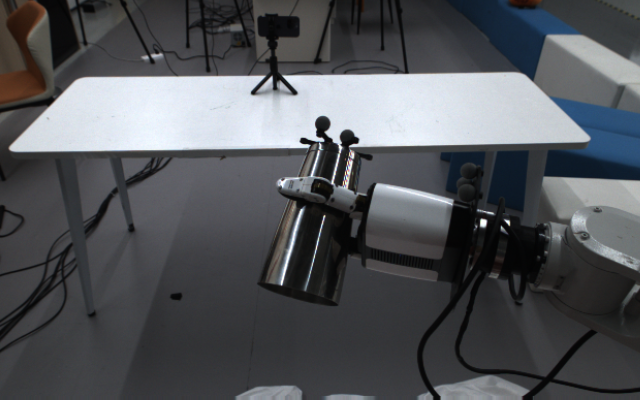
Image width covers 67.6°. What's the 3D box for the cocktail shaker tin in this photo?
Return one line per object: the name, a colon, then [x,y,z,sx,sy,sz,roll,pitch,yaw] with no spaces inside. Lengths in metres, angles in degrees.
cocktail shaker tin: [-0.002,0.025,0.548,0.093,0.093,0.170,11,71,12]
